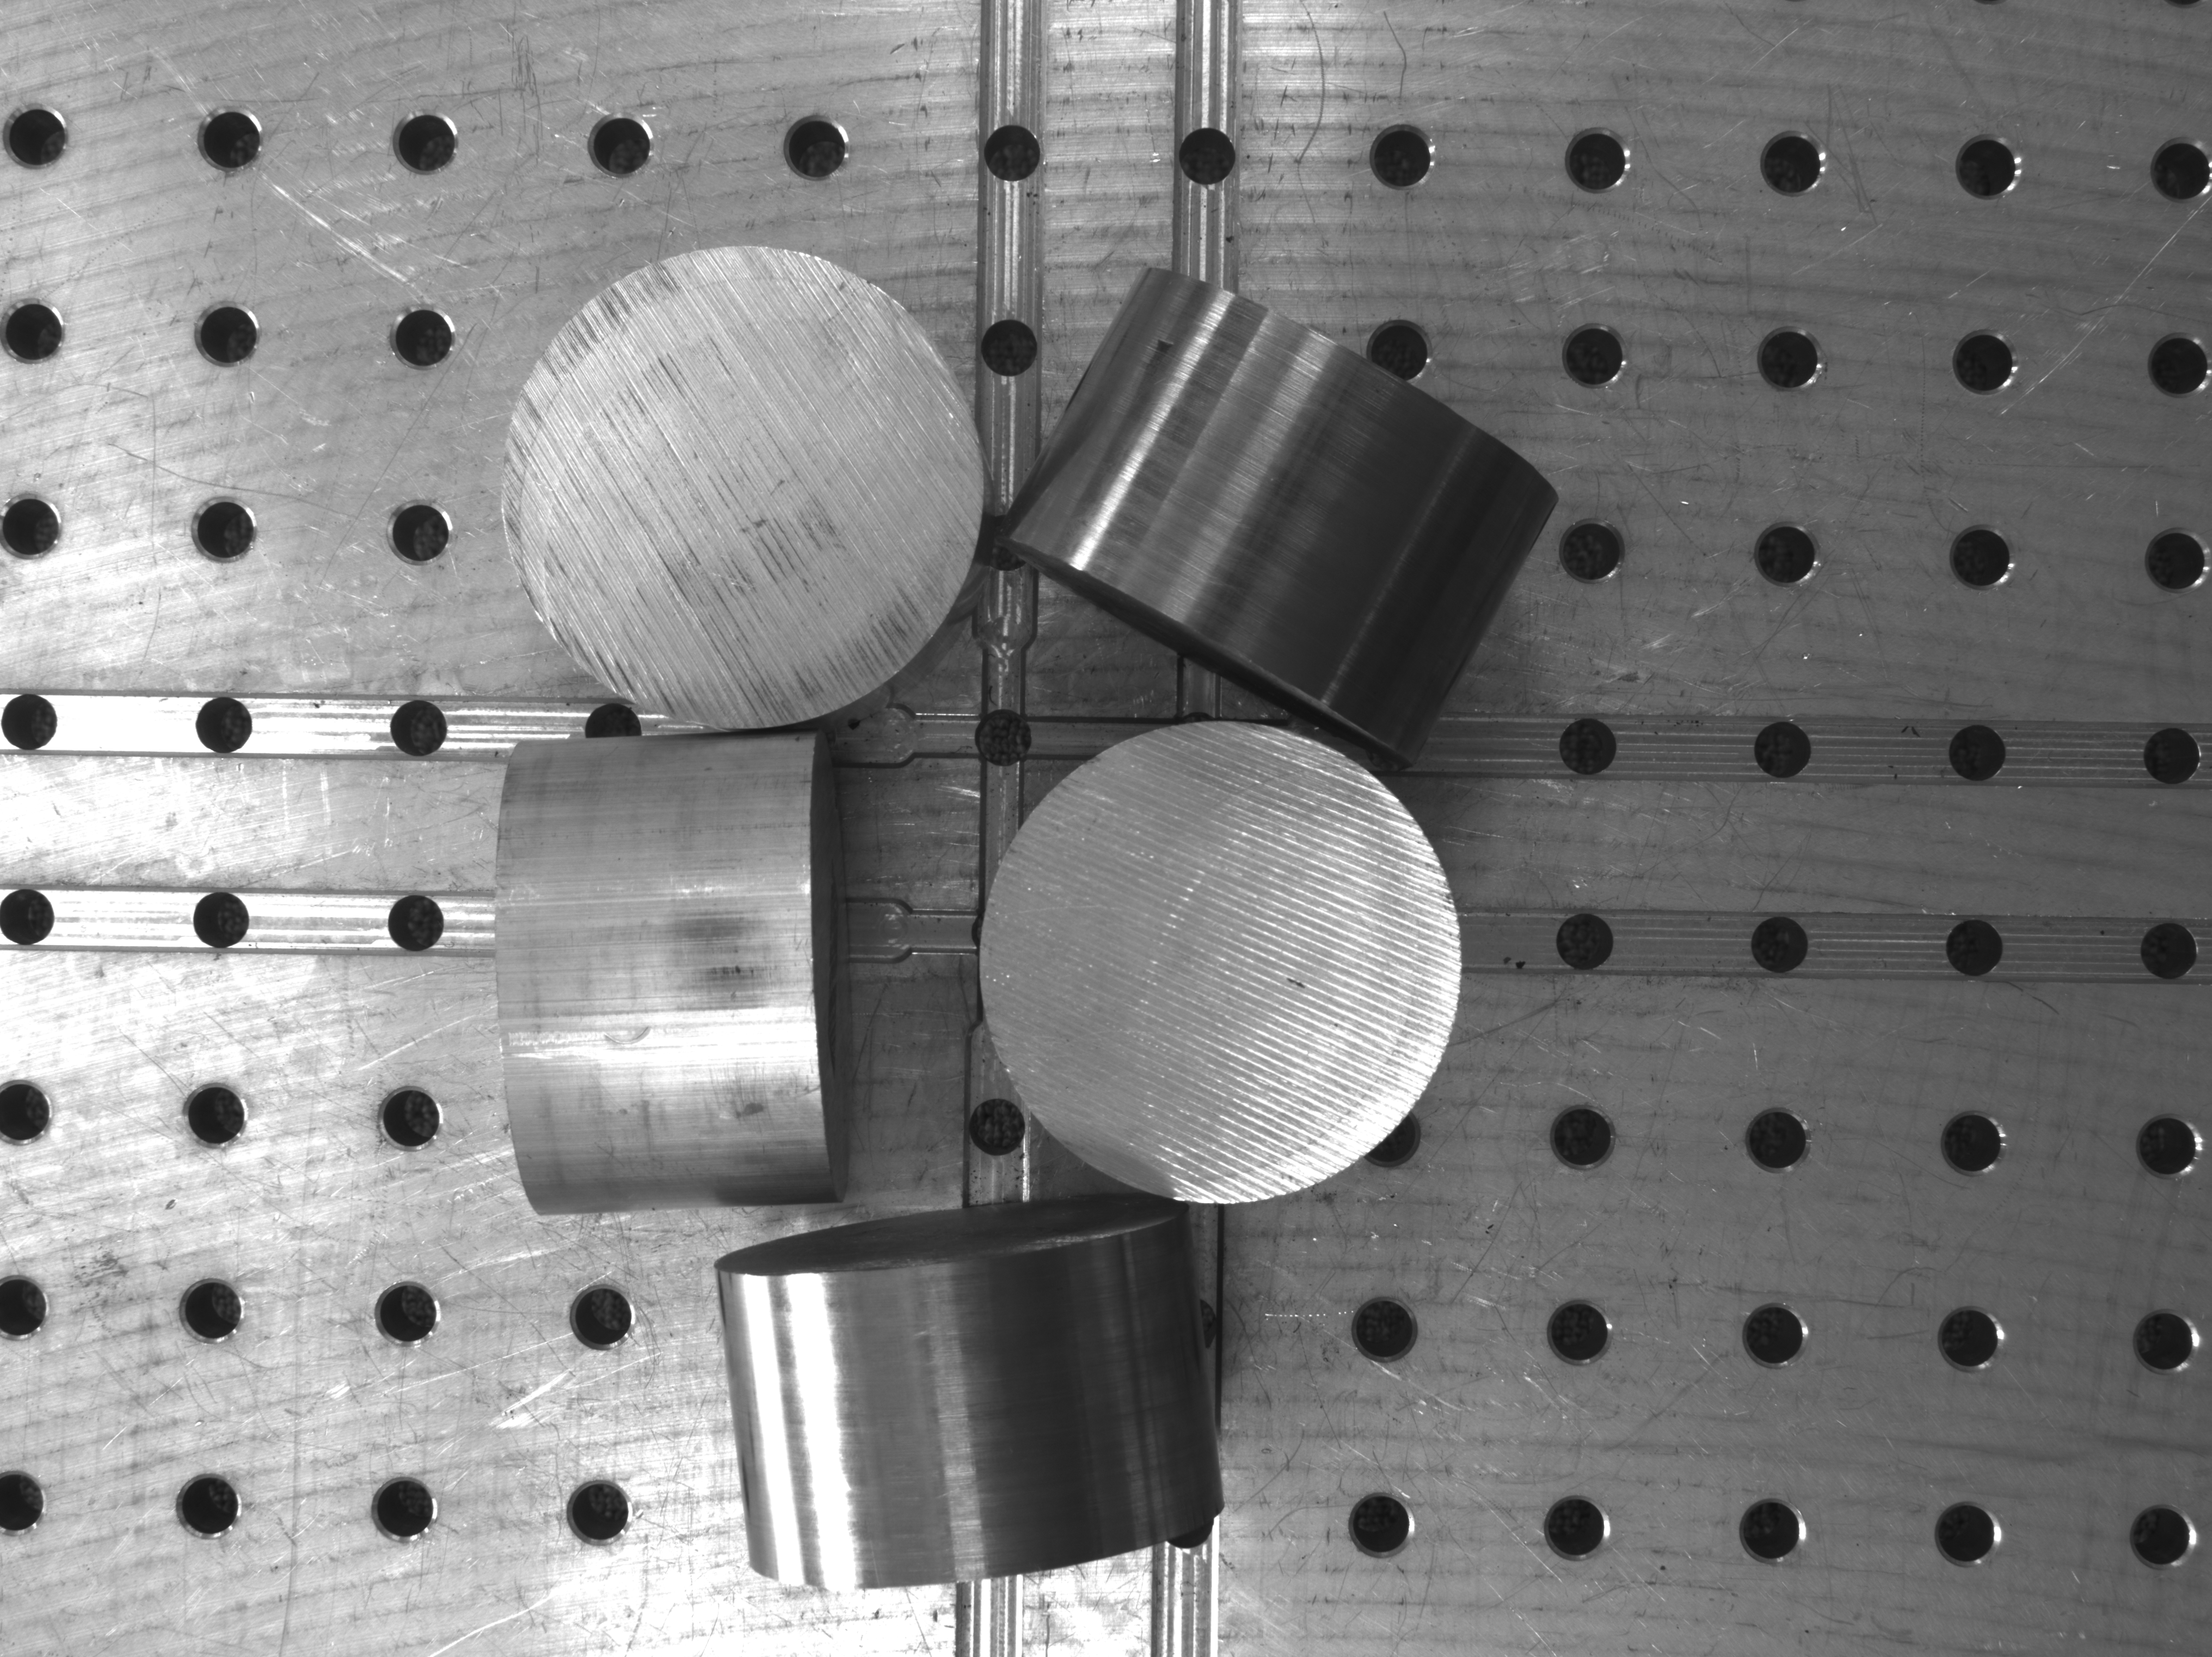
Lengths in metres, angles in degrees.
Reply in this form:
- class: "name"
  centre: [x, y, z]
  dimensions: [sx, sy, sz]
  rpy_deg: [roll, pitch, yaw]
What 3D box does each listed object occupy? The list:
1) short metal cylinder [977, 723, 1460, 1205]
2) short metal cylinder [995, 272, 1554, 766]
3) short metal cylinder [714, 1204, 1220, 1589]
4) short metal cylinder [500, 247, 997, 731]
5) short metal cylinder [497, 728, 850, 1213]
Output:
- class: "short metal cylinder"
  centre: [0.019, 0.022, 0.636]
  dimensions: [0.080, 0.050, 0.080]
  rpy_deg: [0, 90, 0]
- class: "short metal cylinder"
  centre: [0.028, -0.052, 0.621]
  dimensions: [0.080, 0.080, 0.050]
  rpy_deg: [29, 89, 0]
- class: "short metal cylinder"
  centre: [-0.023, 0.094, 0.620]
  dimensions: [0.080, 0.080, 0.050]
  rpy_deg: [-6, 90, 0]
- class: "short metal cylinder"
  centre: [-0.060, -0.056, 0.635]
  dimensions: [0.080, 0.050, 0.080]
  rpy_deg: [0, 90, 1]
- class: "short metal cylinder"
  centre: [-0.071, 0.024, 0.621]
  dimensions: [0.050, 0.080, 0.080]
  rpy_deg: [-2, 90, 0]
